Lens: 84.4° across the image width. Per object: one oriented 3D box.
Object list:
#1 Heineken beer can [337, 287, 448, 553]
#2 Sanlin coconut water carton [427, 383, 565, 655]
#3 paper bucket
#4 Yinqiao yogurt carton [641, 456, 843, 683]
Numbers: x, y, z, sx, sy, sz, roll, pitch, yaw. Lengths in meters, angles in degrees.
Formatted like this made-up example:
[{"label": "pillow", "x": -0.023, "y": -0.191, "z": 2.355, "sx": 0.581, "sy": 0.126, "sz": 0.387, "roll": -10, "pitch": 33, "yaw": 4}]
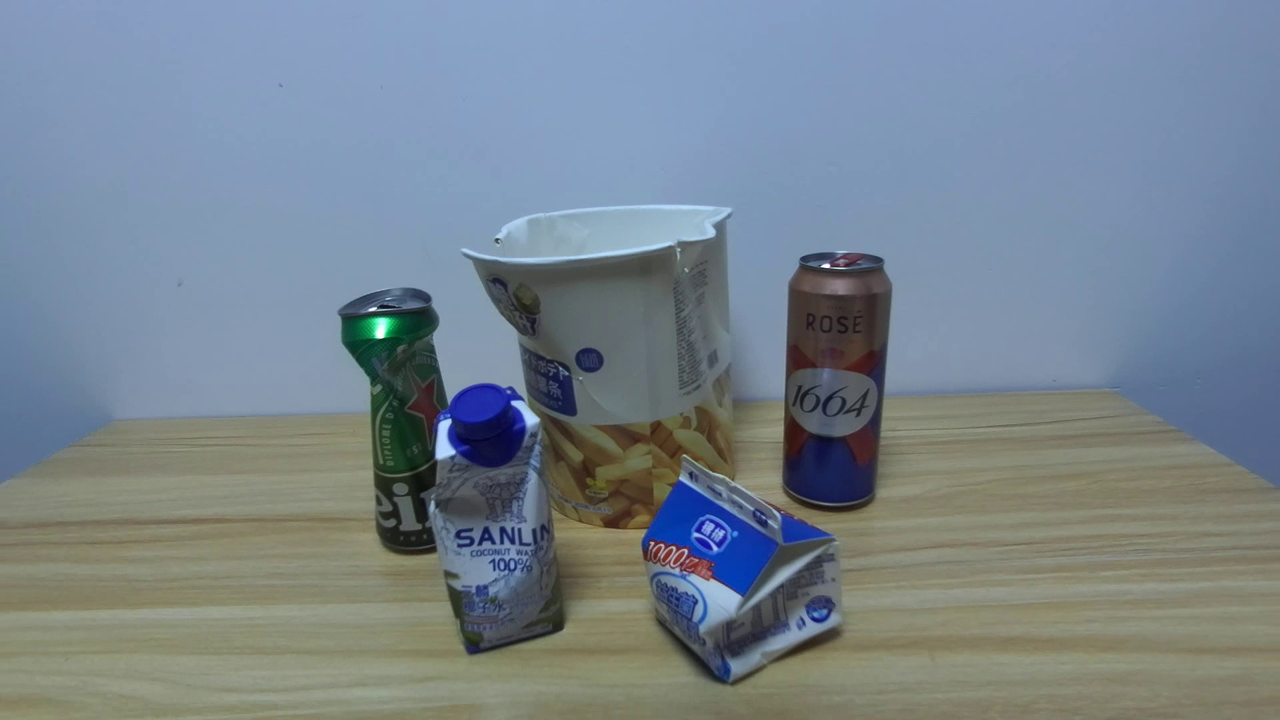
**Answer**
[{"label": "Heineken beer can", "x": -0.150, "y": 0.038, "z": 0.467, "sx": 0.066, "sy": 0.164, "sz": 0.078, "roll": 13, "pitch": 28, "yaw": 35}, {"label": "Sanlin coconut water carton", "x": -0.077, "y": 0.076, "z": 0.368, "sx": 0.061, "sy": 0.144, "sz": 0.069, "roll": -9, "pitch": 22, "yaw": -15}, {"label": "paper bucket", "x": -0.009, "y": -0.002, "z": 0.500, "sx": 0.145, "sy": 0.197, "sz": 0.203, "roll": 0, "pitch": 19, "yaw": 12}, {"label": "Yinqiao yogurt carton", "x": 0.048, "y": 0.100, "z": 0.355, "sx": 0.080, "sy": 0.097, "sz": 0.074, "roll": -23, "pitch": 26, "yaw": -28}]
